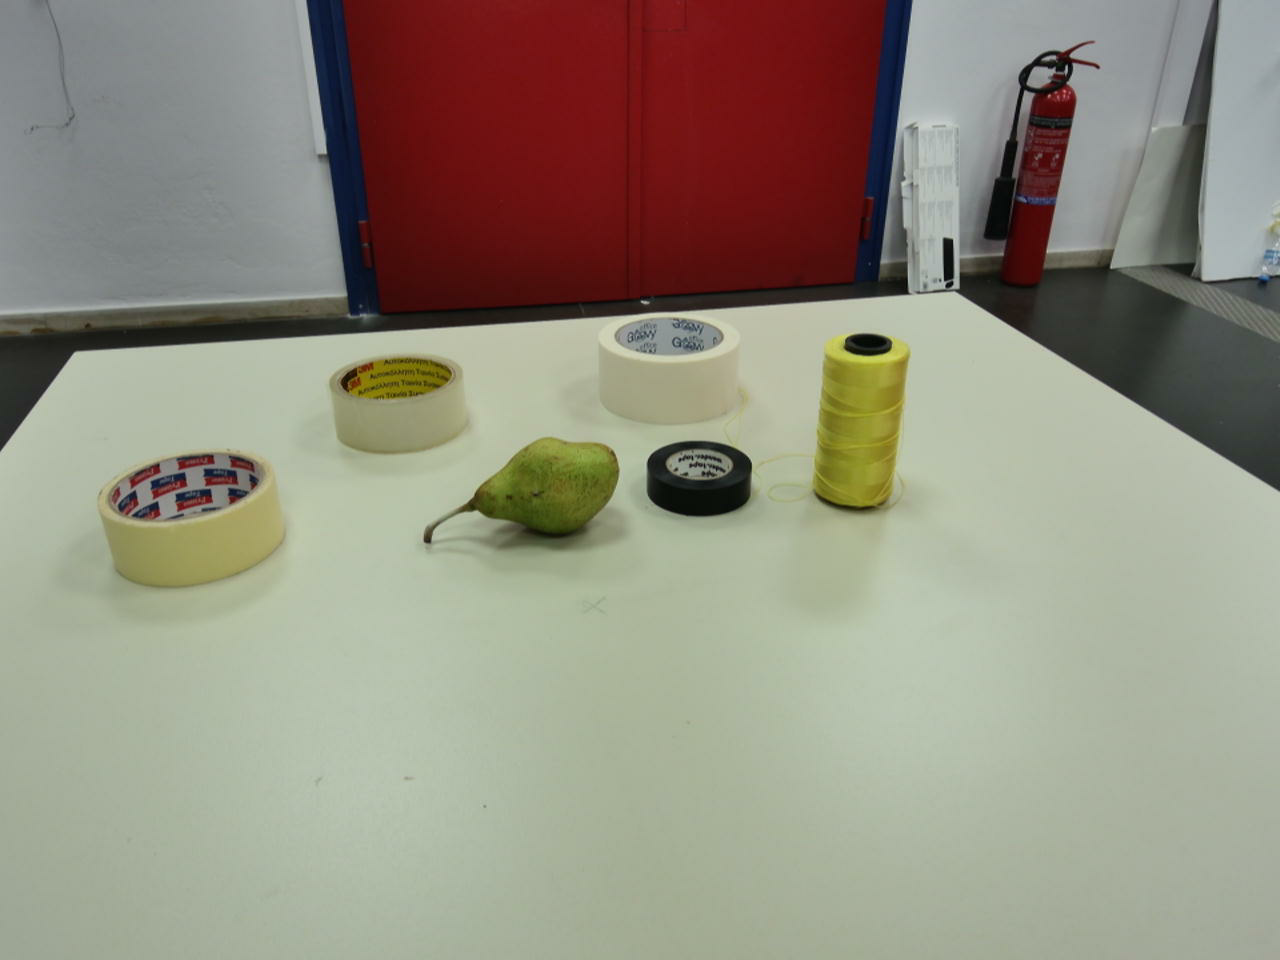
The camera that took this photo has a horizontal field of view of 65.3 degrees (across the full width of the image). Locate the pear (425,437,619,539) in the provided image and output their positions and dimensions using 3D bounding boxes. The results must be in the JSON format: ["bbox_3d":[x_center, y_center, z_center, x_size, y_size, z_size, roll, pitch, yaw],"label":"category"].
[{"bbox_3d":[-0.067,0.004,0.587,0.111,0.056,0.056,0,26,3],"label":"pear"}]
